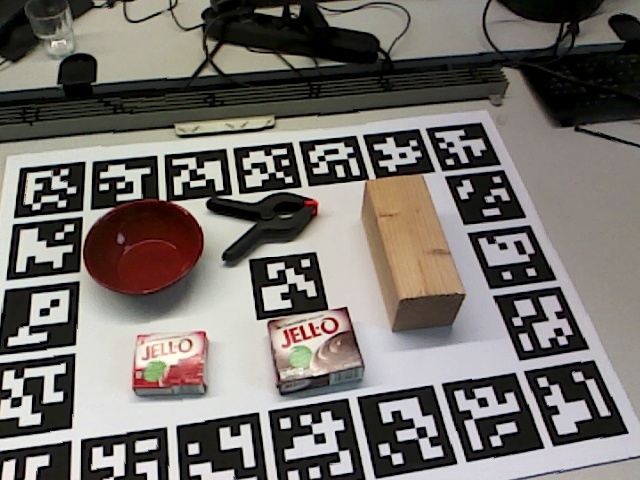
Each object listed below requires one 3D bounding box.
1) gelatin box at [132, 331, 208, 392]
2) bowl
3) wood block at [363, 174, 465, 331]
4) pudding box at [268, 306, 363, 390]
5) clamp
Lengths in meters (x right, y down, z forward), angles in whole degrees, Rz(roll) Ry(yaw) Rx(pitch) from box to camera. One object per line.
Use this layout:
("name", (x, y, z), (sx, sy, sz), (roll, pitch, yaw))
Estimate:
("gelatin box", (-0.193, 0.157, 0.803), (0.089, 0.030, 0.073), (-1, 56, -3))
("bowl", (-0.248, 0.019, 0.894), (0.161, 0.055, 0.162), (2, 57, -3))
("wood block", (0.129, 0.014, 0.884), (0.090, 0.091, 0.207), (-5, 55, -7))
("pudding box", (-0.007, 0.143, 0.818), (0.114, 0.038, 0.090), (-9, 59, -6))
("clamp", (-0.097, -0.028, 0.948), (0.164, 0.036, 0.122), (-15, 56, -15))
